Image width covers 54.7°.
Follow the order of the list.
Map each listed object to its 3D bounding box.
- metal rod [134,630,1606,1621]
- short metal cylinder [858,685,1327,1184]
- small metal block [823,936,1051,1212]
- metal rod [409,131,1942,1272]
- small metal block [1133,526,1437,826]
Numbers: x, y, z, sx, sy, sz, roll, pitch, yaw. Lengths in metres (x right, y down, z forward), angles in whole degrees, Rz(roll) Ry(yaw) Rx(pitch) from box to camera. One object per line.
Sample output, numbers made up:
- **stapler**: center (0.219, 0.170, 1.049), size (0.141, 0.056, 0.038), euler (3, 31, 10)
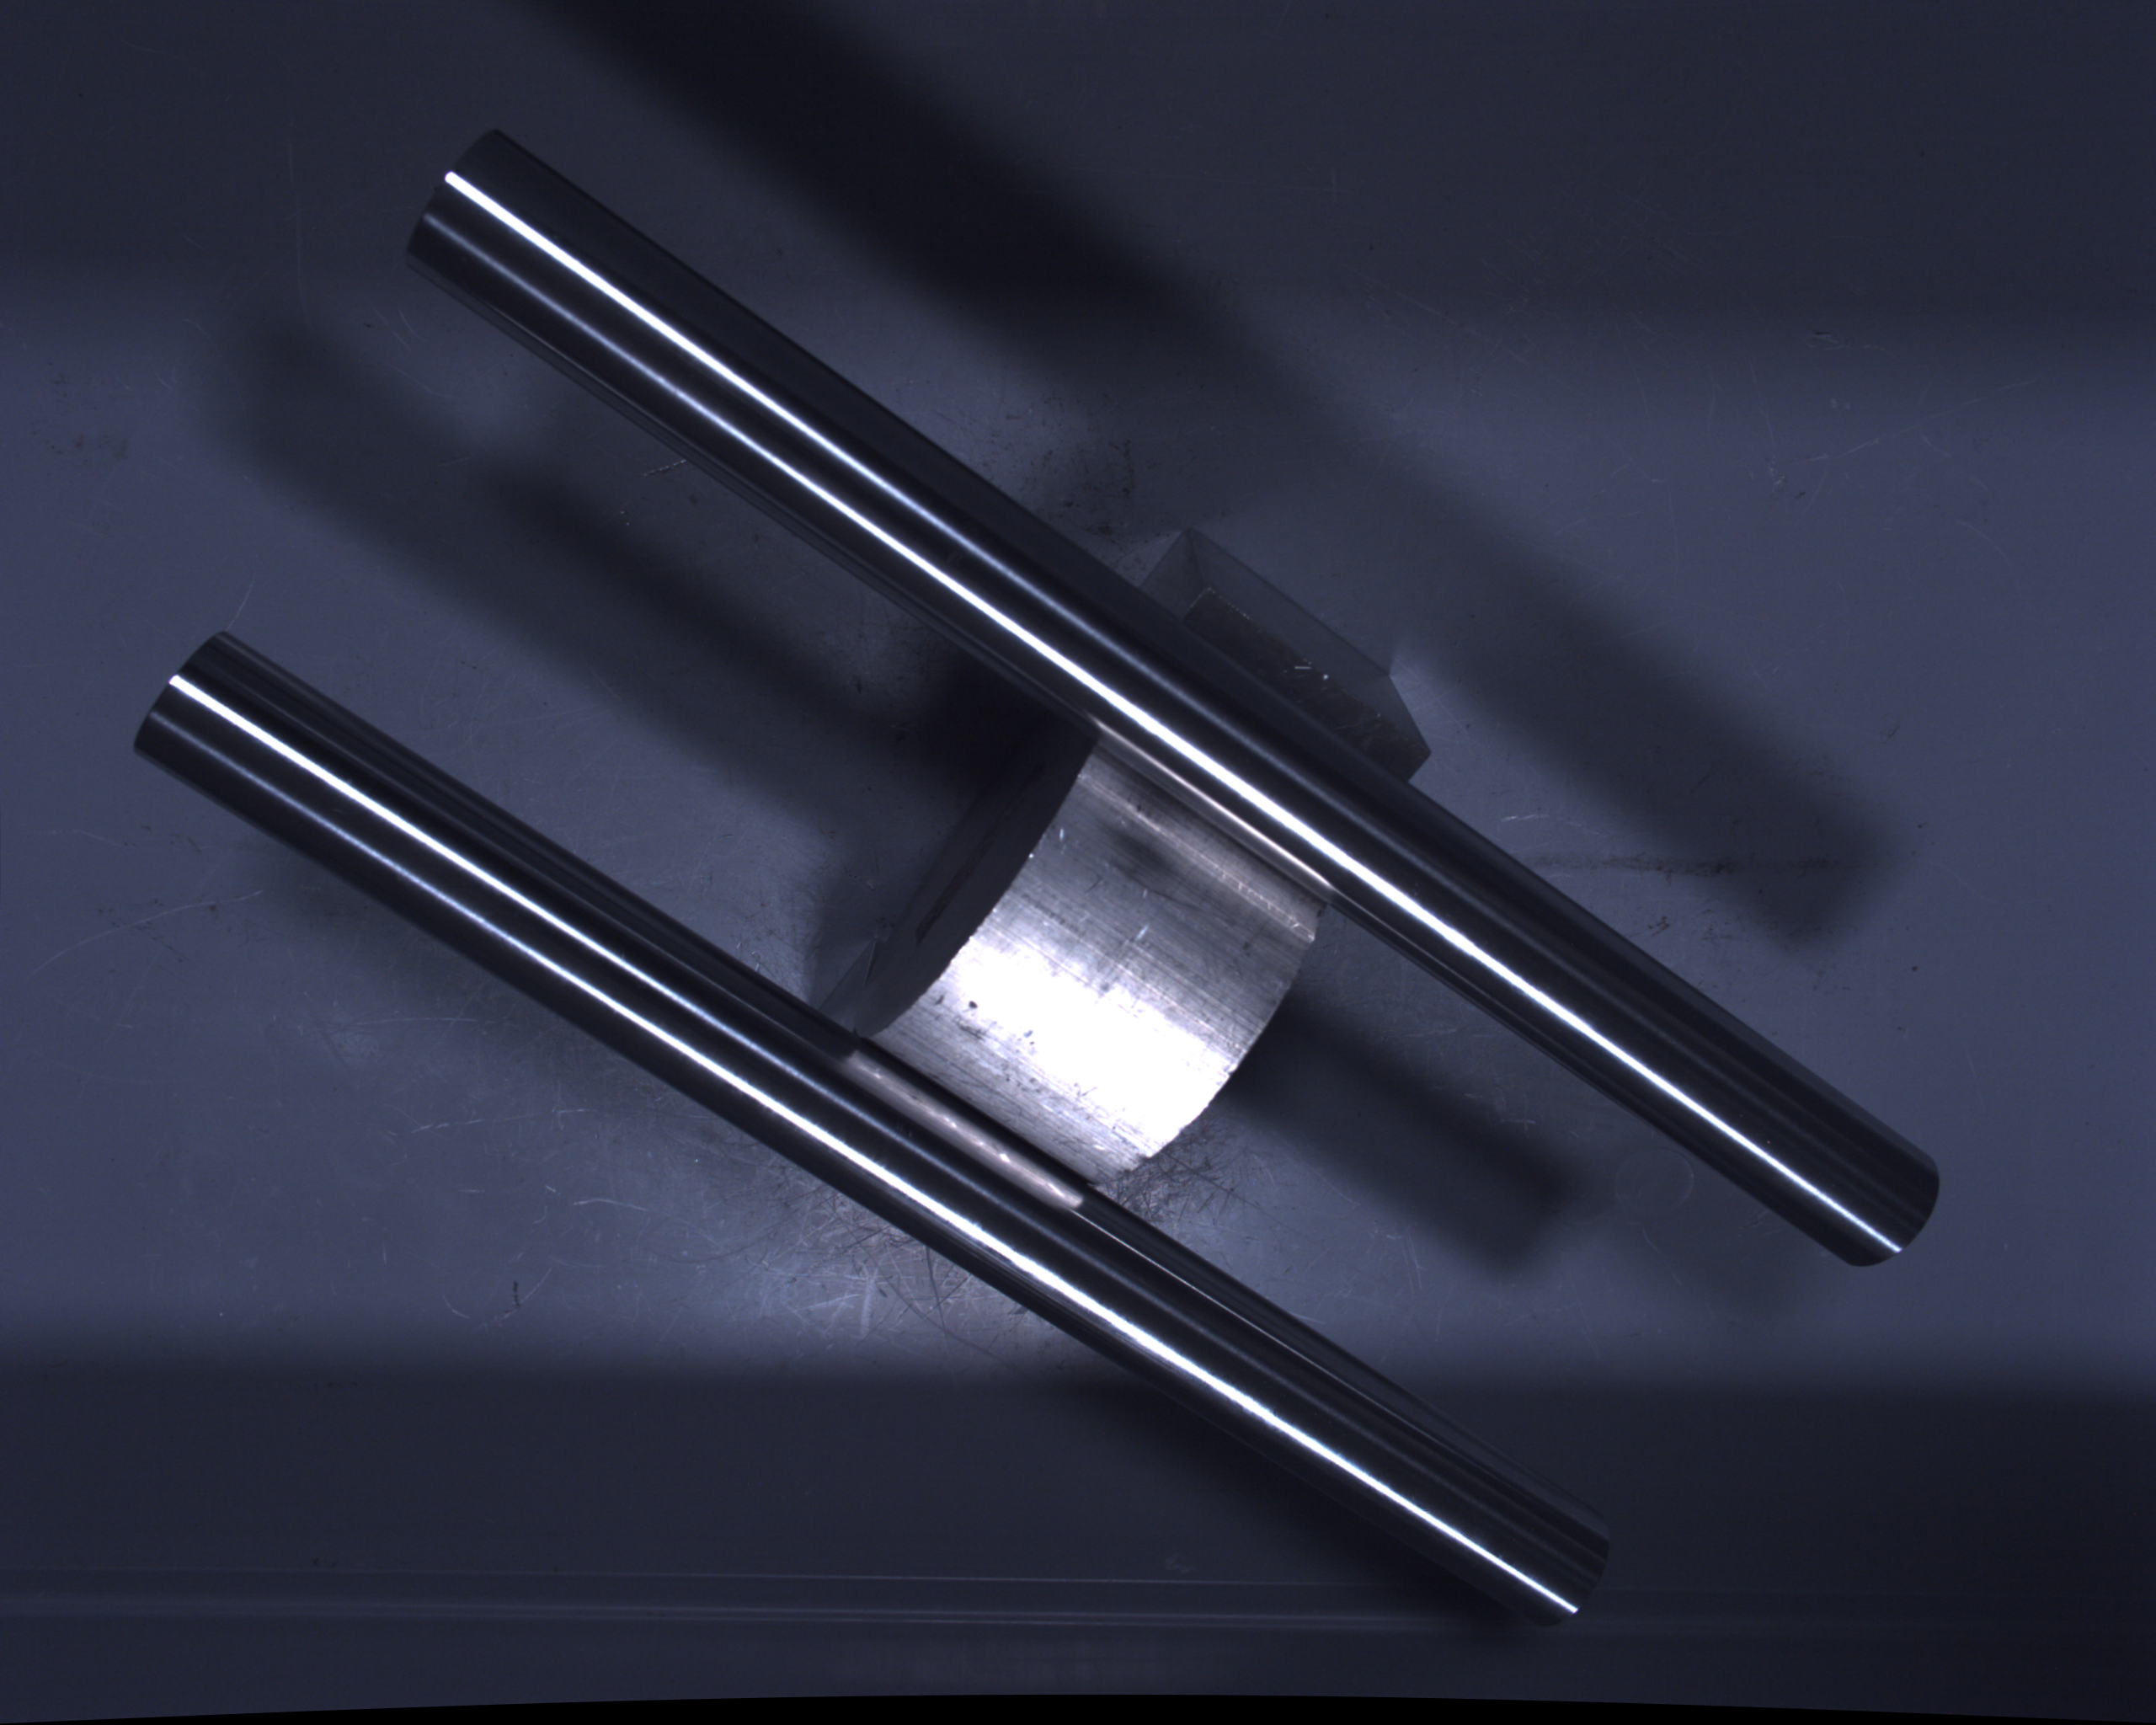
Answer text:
- **metal rod**: center (-0.027, 0.054, 0.377), size (0.301, 0.025, 0.025), euler (34, 106, -12)
- **short metal cylinder**: center (0.003, 0.012, 0.385), size (0.050, 0.080, 0.080), euler (35, 106, -12)
- **small metal block**: center (-0.029, 0.047, 0.413), size (0.050, 0.050, 0.025), euler (35, 106, -12)
- **metal rod**: center (0.027, -0.018, 0.350), size (0.301, 0.025, 0.025), euler (34, 106, -12)
- **small metal block**: center (0.035, -0.033, 0.384), size (0.050, 0.050, 0.025), euler (35, 106, -12)
